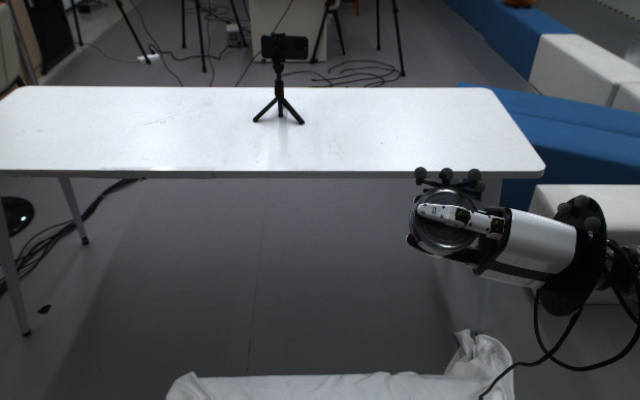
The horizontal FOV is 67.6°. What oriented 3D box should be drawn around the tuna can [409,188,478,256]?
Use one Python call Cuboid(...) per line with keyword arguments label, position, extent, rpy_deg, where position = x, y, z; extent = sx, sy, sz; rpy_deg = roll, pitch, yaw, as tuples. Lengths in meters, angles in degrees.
Cuboid(label="tuna can", position=(0.162, 0.023, 0.630), extent=(0.085, 0.034, 0.085), rpy_deg=(1, 74, -4))
